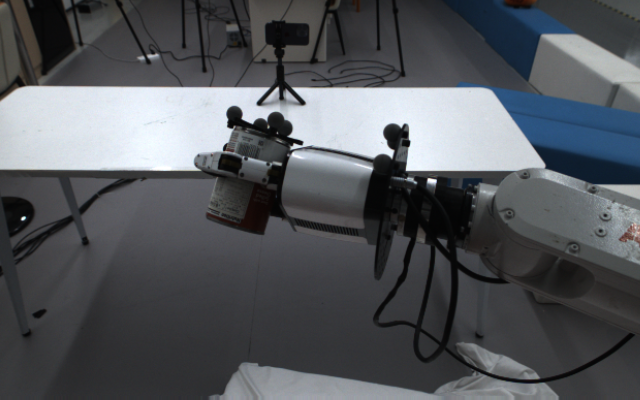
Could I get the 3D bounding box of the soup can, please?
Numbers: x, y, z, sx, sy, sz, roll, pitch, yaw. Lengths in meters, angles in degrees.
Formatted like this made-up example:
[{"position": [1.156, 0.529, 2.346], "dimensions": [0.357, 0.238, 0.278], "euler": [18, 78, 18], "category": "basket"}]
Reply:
[{"position": [-0.075, -0.020, 0.523], "dimensions": [0.067, 0.101, 0.067], "euler": [17, -1, 0], "category": "soup can"}]
